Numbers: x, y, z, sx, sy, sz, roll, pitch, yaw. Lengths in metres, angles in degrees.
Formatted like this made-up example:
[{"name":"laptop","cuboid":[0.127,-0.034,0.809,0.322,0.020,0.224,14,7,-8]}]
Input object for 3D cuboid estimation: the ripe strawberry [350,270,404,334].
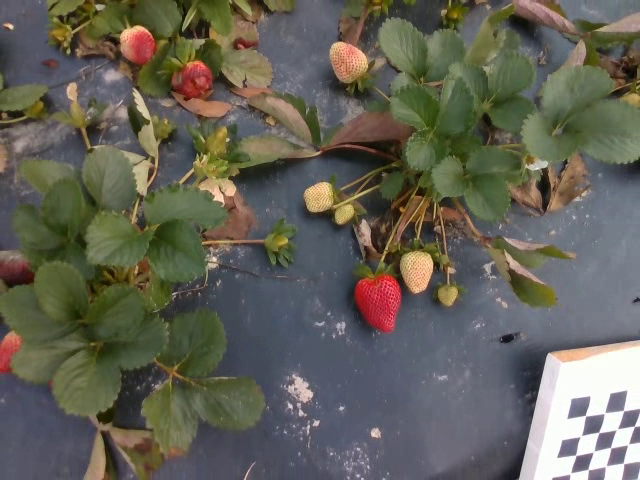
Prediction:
[{"name":"ripe strawberry","cuboid":[0.054,0.056,0.553,0.050,0.059,0.034,-13,-26,-11]}]
